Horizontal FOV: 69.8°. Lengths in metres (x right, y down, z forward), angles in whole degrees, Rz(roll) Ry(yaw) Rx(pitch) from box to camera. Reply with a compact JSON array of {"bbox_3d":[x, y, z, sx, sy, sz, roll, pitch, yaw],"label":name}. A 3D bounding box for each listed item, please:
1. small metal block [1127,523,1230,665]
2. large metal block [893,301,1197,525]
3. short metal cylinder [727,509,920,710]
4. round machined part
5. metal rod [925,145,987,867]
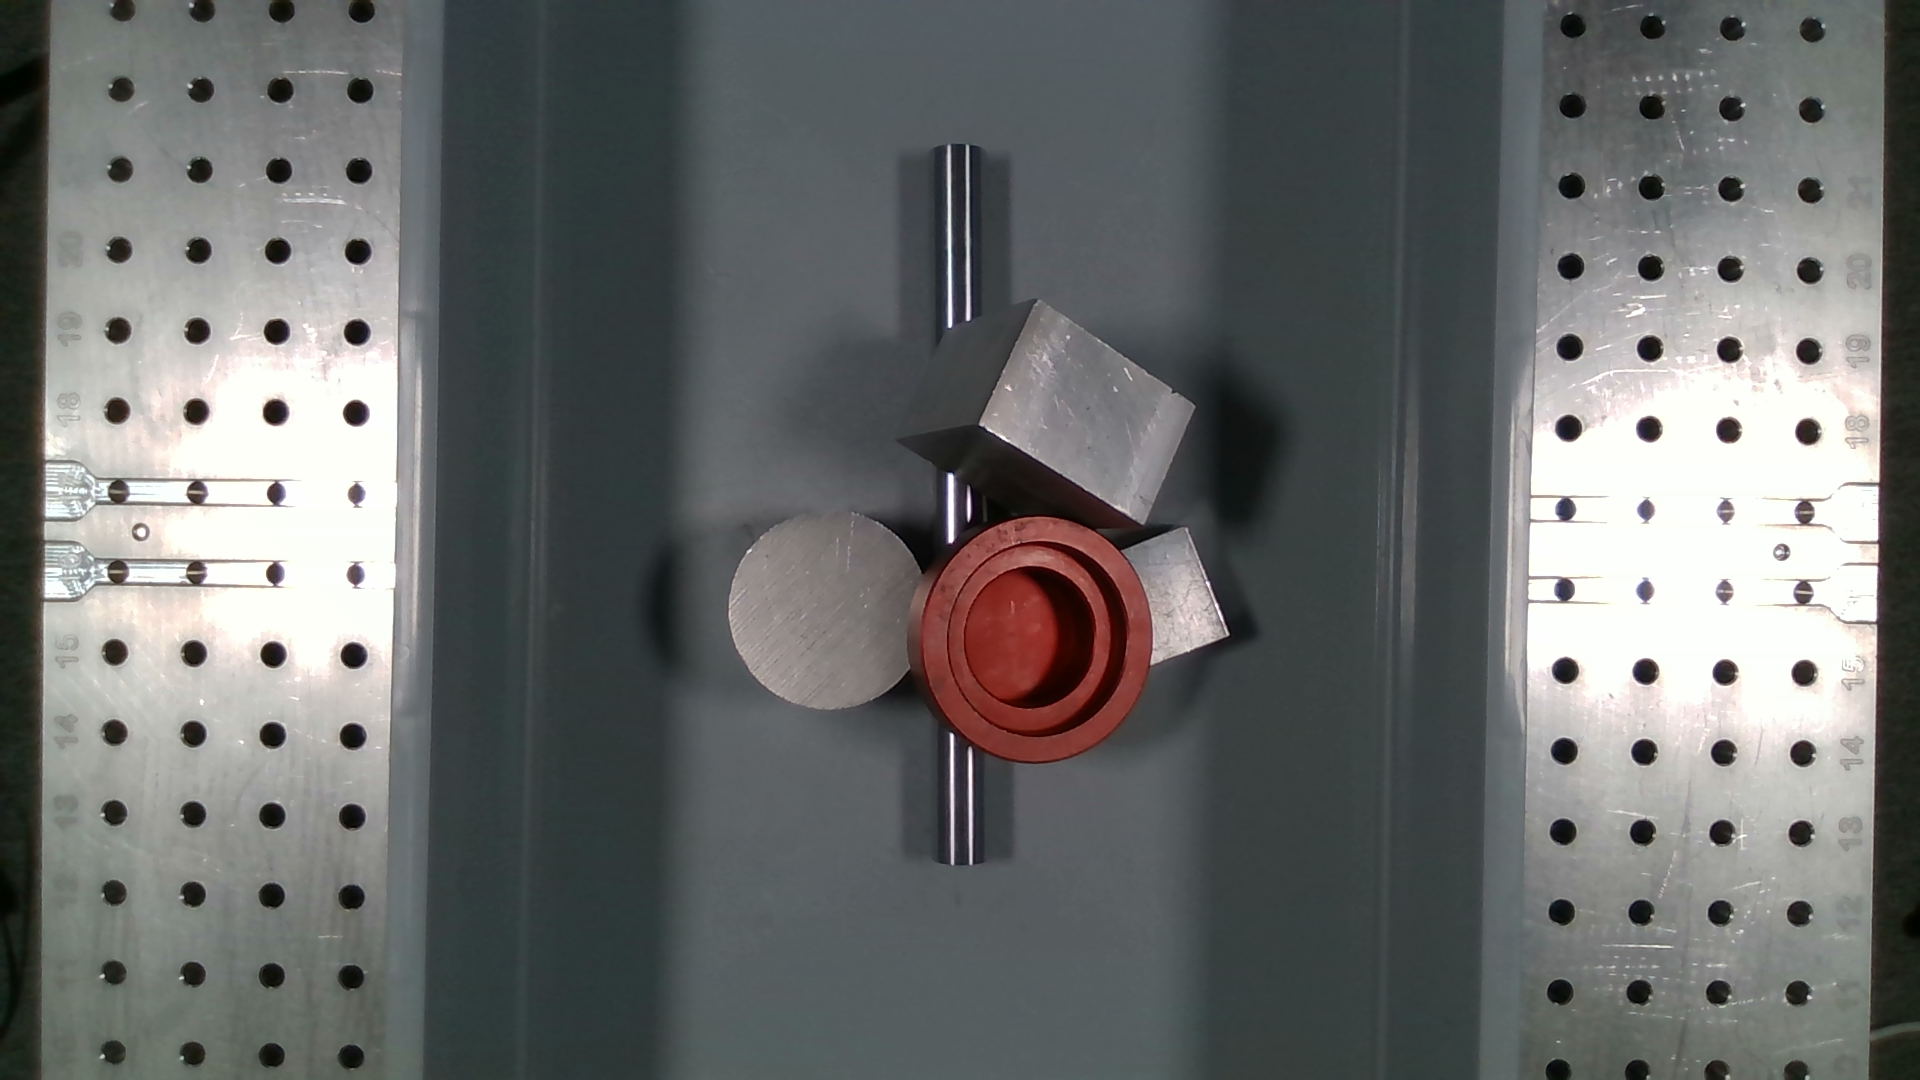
[{"bbox_3d":[0.080,0.025,0.587,0.050,0.025,0.050,-21,90,0],"label":"small metal block"},{"bbox_3d":[0.031,-0.046,0.544,0.080,0.080,0.050,29,78,-23],"label":"large metal block"},{"bbox_3d":[-0.053,0.028,0.573,0.080,0.050,0.080,0,90,0],"label":"short metal cylinder"},{"bbox_3d":[0.025,0.039,0.559,0.098,0.042,0.098,0,90,-18],"label":"round machined part"},{"bbox_3d":[-0.002,-0.014,0.584,0.025,0.025,0.300,0,91,0],"label":"metal rod"}]
